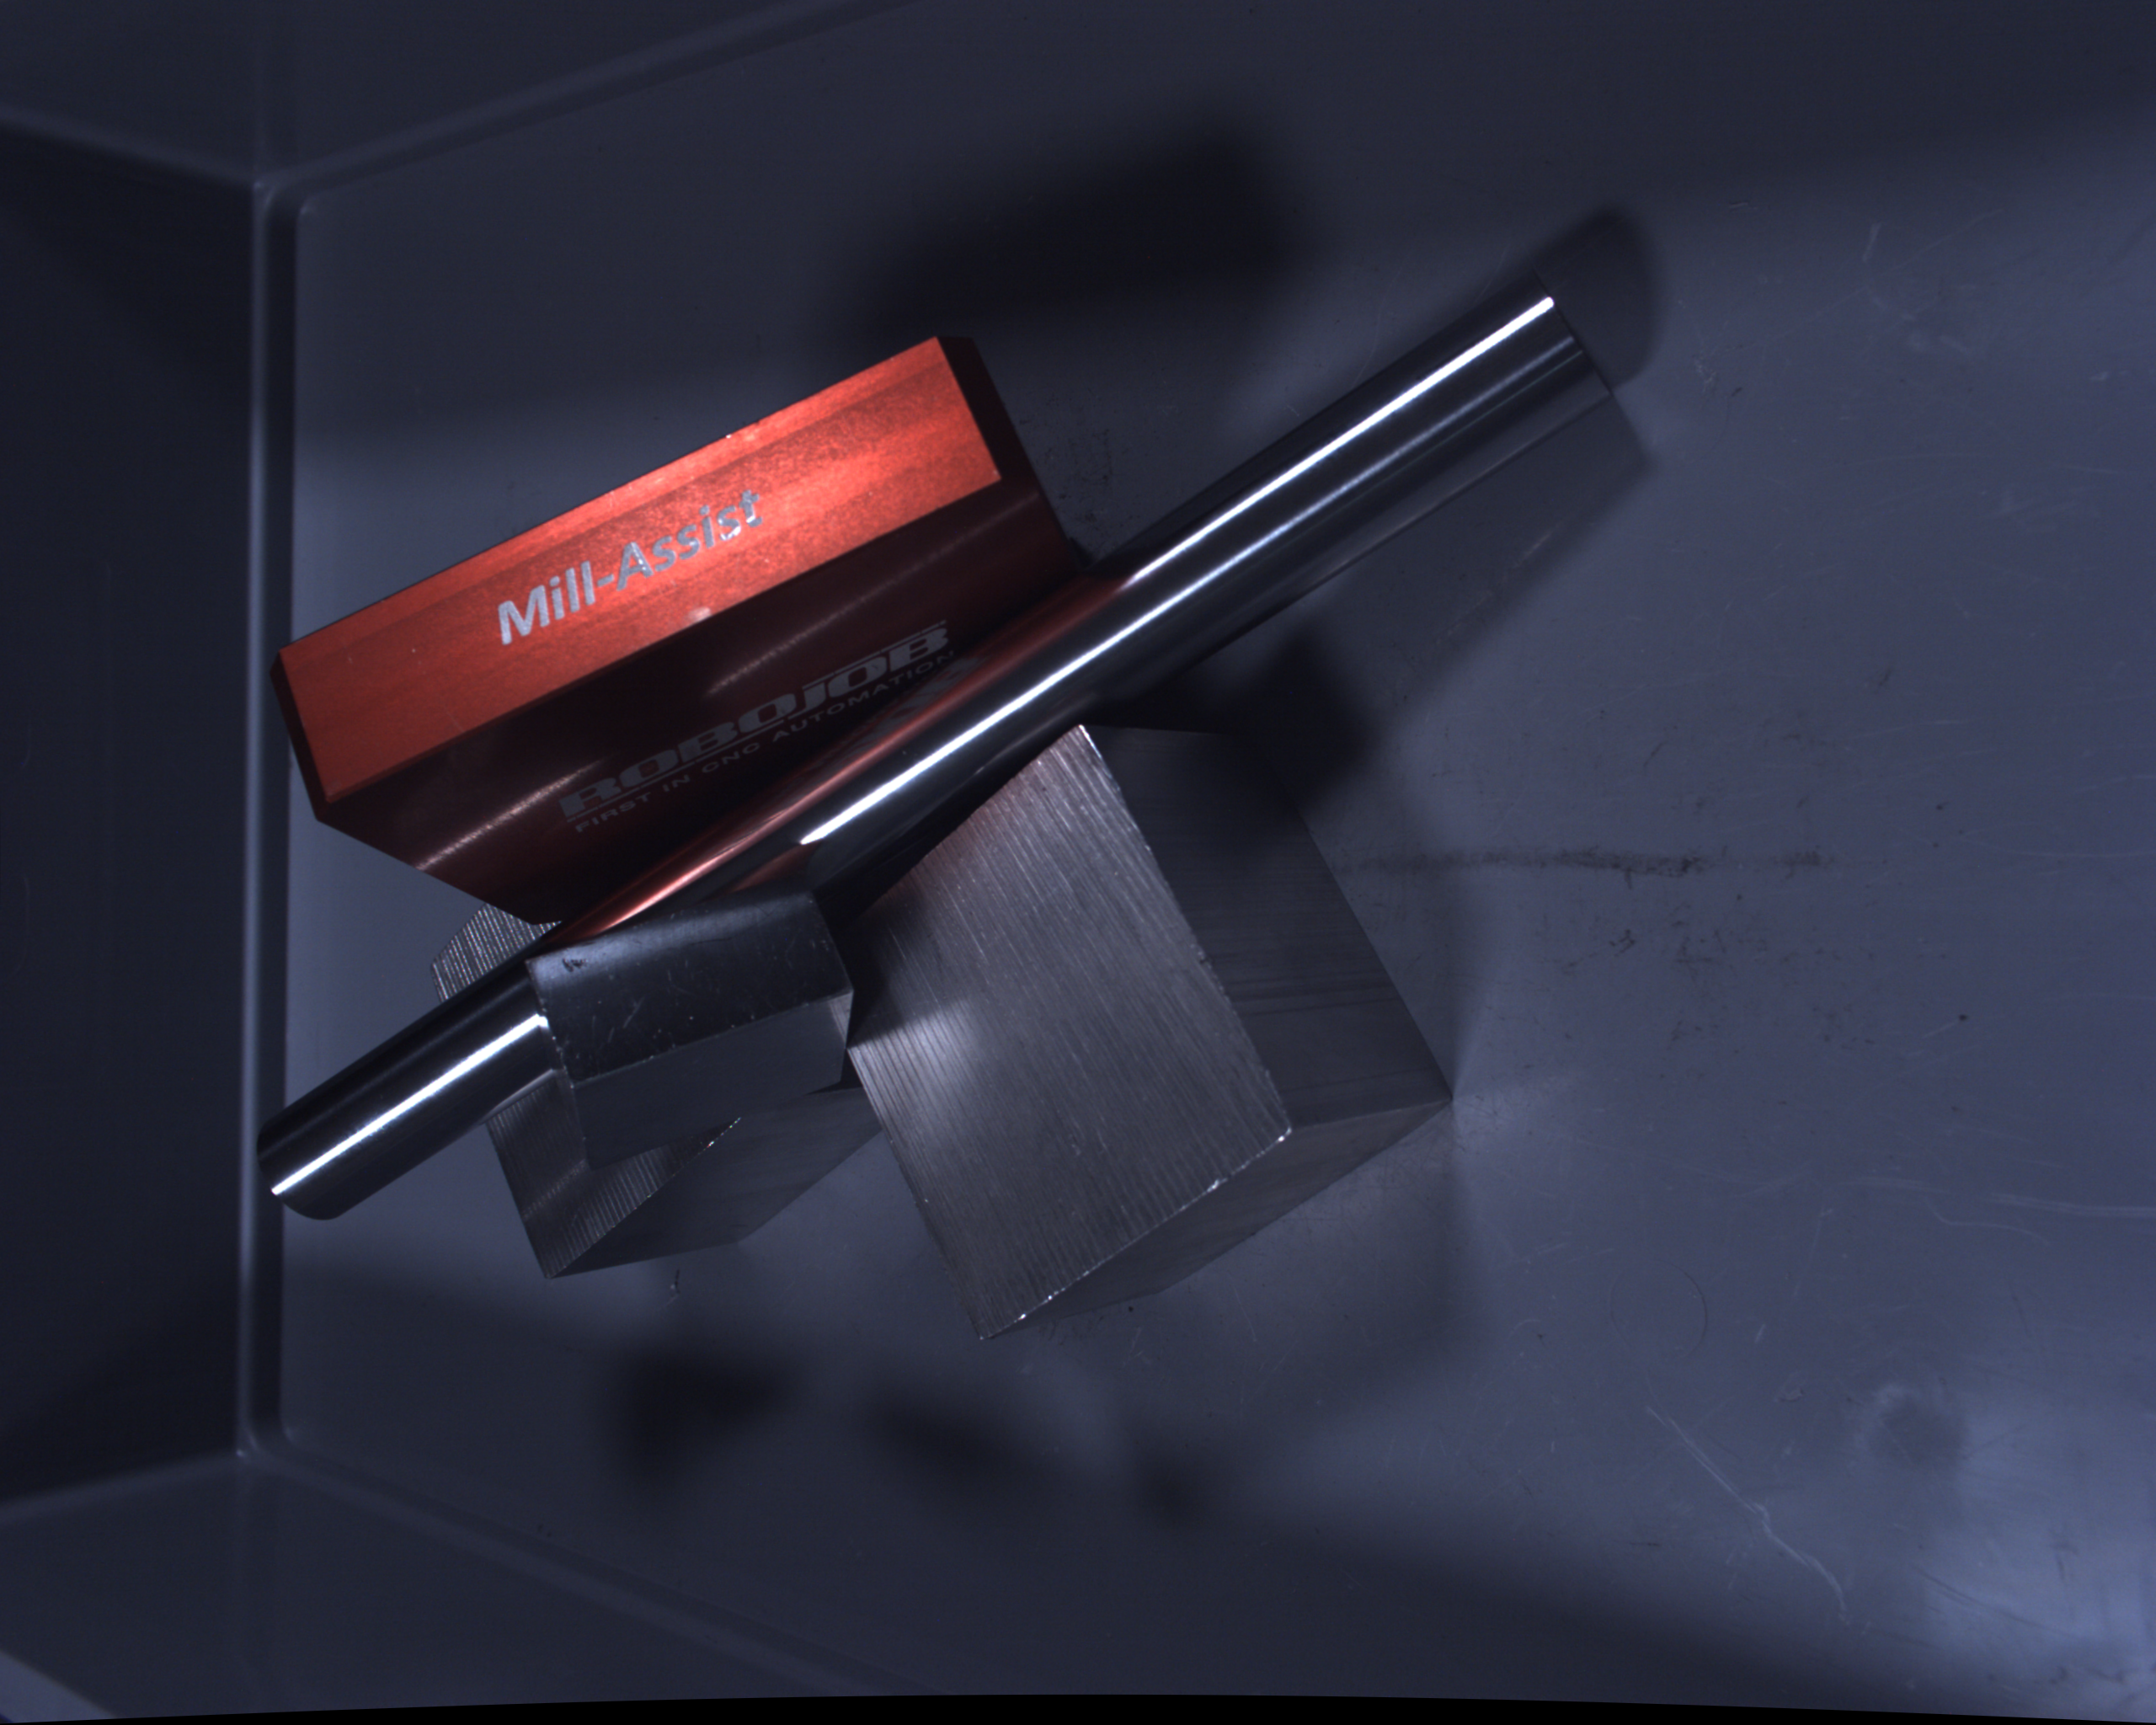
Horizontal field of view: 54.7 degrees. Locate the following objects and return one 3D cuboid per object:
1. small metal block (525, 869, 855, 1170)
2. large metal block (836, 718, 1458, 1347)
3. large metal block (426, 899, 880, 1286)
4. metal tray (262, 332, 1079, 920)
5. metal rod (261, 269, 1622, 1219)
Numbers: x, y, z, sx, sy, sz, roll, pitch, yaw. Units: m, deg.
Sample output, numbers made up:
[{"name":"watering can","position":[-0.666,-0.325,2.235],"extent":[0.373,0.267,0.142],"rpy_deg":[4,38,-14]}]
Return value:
[{"name":"small metal block","position":[-0.070,0.029,0.381],"extent":[0.050,0.050,0.025],"rpy_deg":[110,138,-64]},{"name":"large metal block","position":[0.008,0.030,0.381],"extent":[0.080,0.050,0.080],"rpy_deg":[-41,66,32]},{"name":"large metal block","position":[-0.089,0.035,0.457],"extent":[0.080,0.050,0.080],"rpy_deg":[-41,66,32]},{"name":"metal tray","position":[-0.064,-0.038,0.379],"extent":[0.130,0.090,0.030],"rpy_deg":[-25,73,3]},{"name":"metal rod","position":[-0.039,-0.011,0.387],"extent":[0.300,0.025,0.025],"rpy_deg":[-32,70,19]}]
